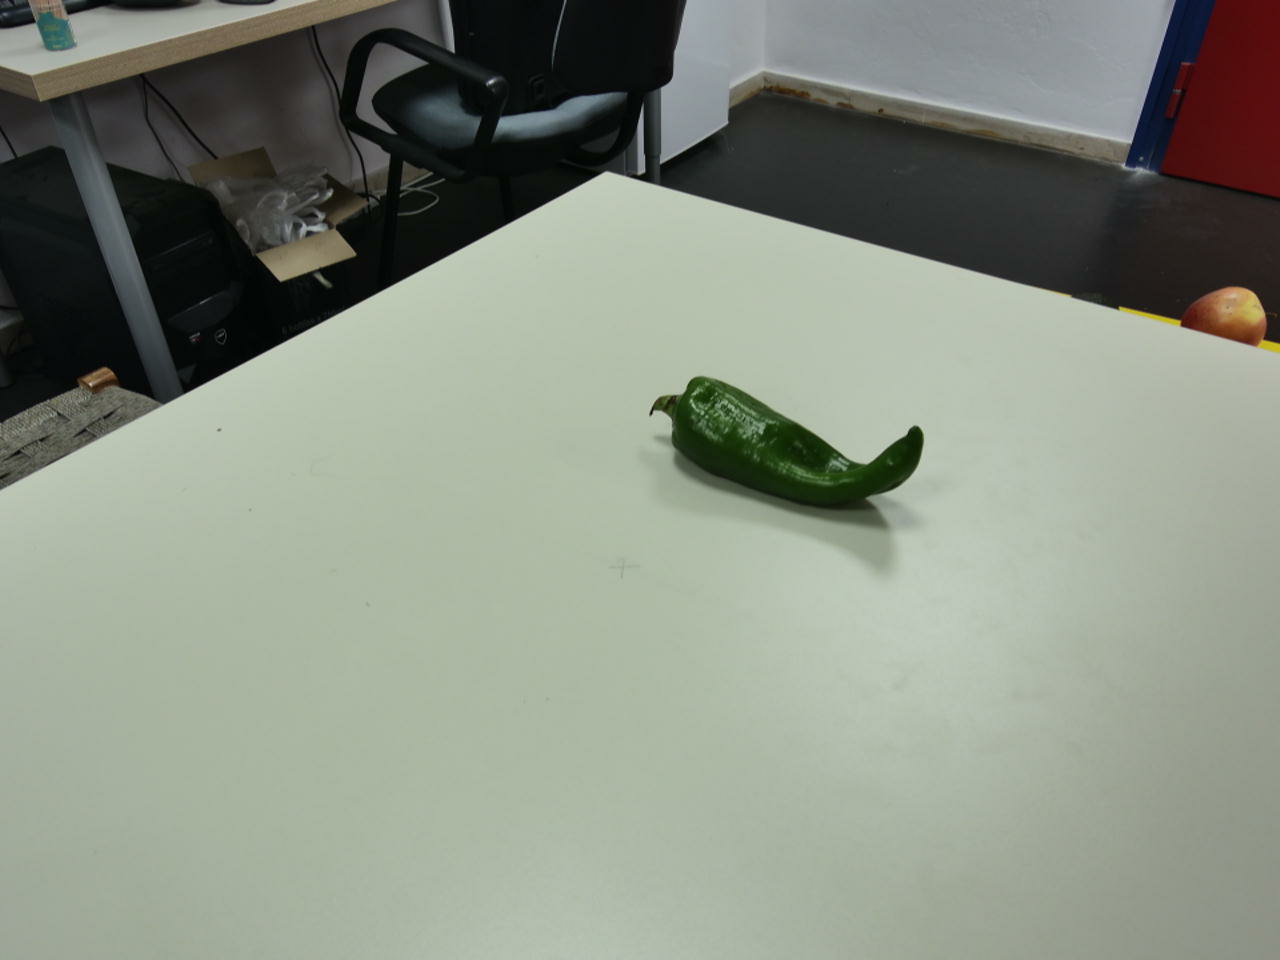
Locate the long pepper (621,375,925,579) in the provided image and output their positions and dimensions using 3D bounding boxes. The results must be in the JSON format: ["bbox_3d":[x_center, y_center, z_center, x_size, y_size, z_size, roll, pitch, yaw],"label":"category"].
[{"bbox_3d":[0.081,-0.026,0.598,0.175,0.065,0.058,23,43,28],"label":"long pepper"}]
